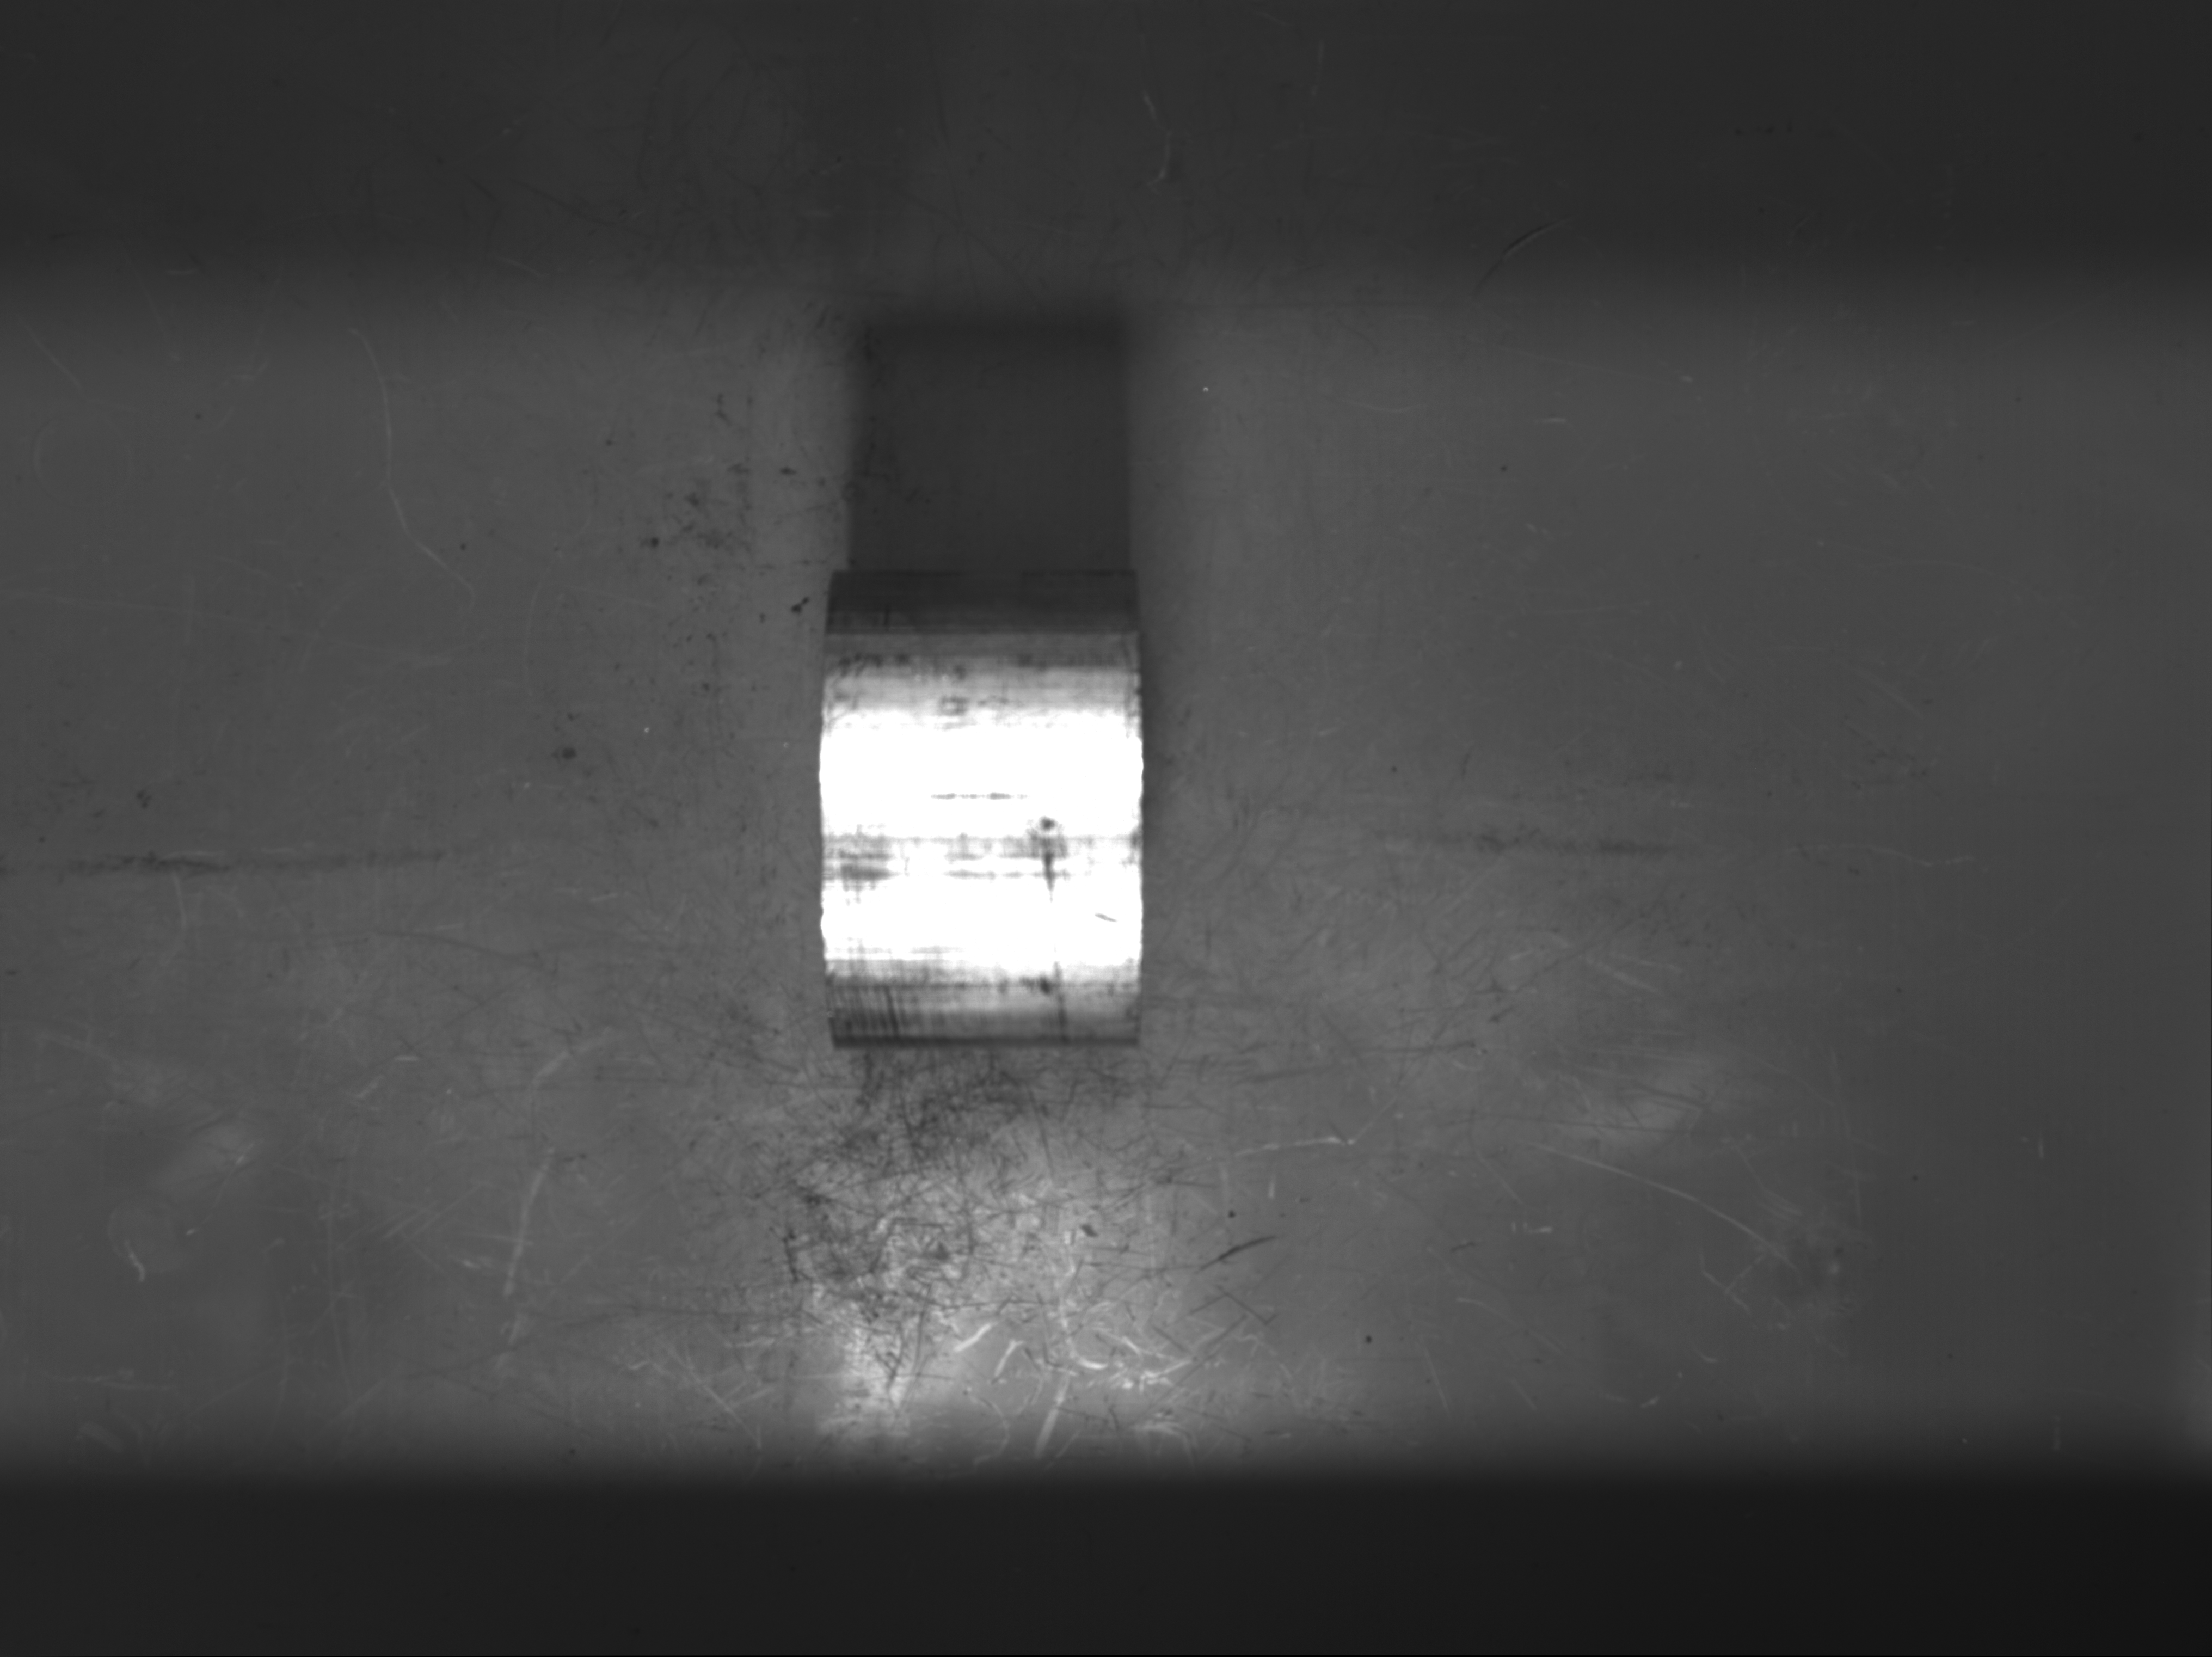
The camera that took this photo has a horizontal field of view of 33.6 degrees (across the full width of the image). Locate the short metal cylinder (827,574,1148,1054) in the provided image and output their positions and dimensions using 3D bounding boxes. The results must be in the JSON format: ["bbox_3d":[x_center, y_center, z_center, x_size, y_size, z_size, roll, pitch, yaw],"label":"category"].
[{"bbox_3d":[-0.019,-0.002,0.611,0.050,0.080,0.080,0,110,-1],"label":"short metal cylinder"}]
